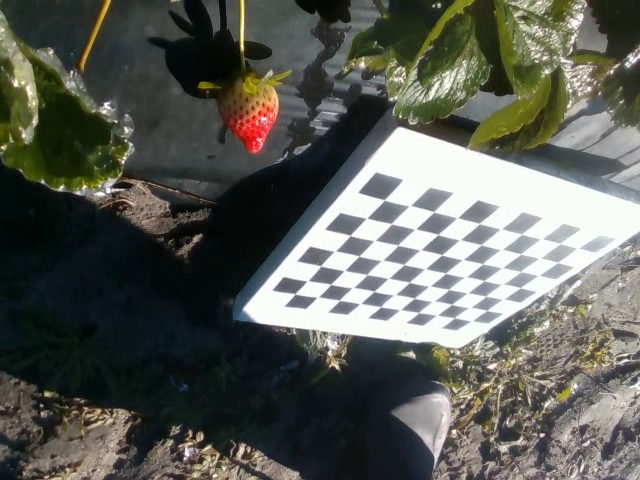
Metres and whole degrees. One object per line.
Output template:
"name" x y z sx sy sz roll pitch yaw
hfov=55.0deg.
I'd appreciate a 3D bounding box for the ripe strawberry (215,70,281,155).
"ripe strawberry" -0.039 -0.072 0.348 0.039 0.053 0.041 -2 39 -11
